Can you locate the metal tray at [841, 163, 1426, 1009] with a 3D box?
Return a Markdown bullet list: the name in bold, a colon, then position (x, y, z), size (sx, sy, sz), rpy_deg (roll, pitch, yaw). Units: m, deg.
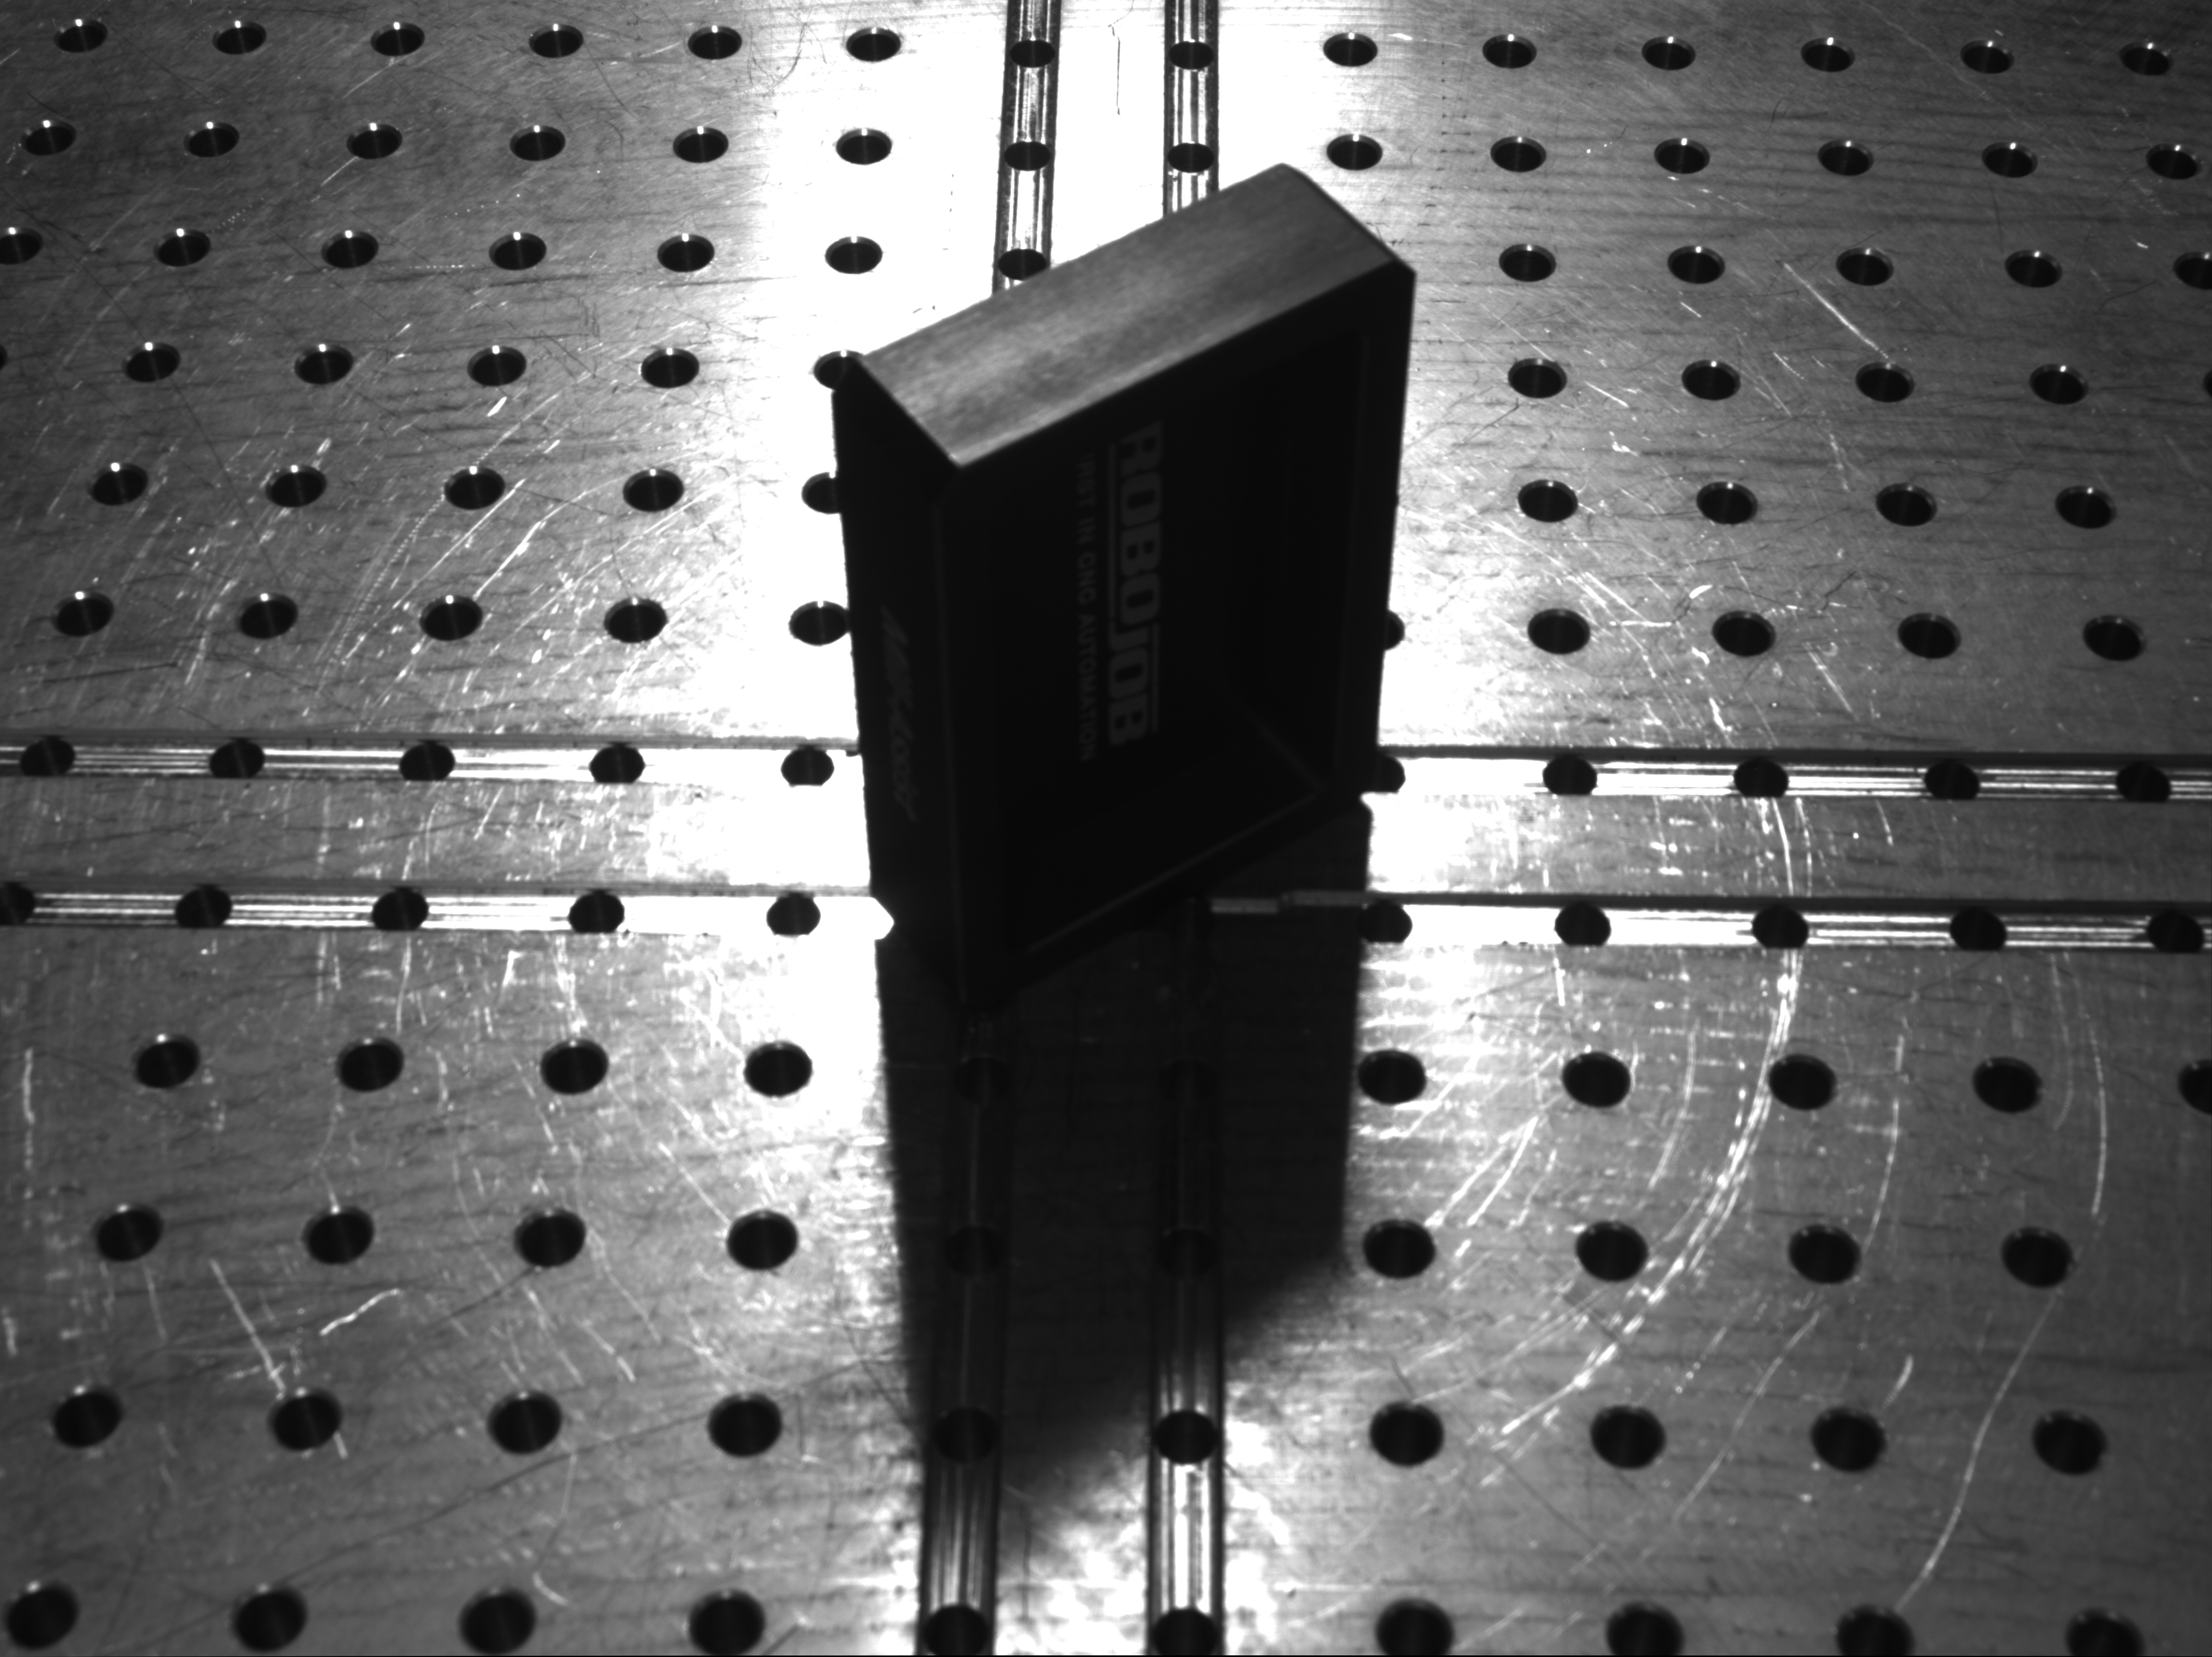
- **metal tray**: position (0.005, -0.037, 0.608), size (0.090, 0.130, 0.030), rpy_deg (-28, 55, -22)
